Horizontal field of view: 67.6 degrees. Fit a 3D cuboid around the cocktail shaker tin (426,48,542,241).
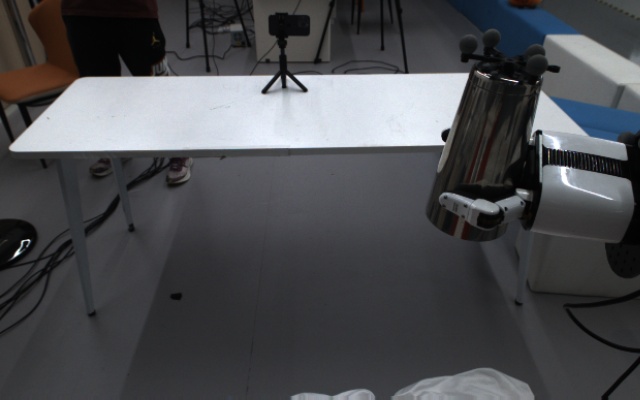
[{"bbox_3d":[0.173,-0.052,0.506,0.093,0.170,0.093,3,34,-2],"label":"cocktail shaker tin"}]
